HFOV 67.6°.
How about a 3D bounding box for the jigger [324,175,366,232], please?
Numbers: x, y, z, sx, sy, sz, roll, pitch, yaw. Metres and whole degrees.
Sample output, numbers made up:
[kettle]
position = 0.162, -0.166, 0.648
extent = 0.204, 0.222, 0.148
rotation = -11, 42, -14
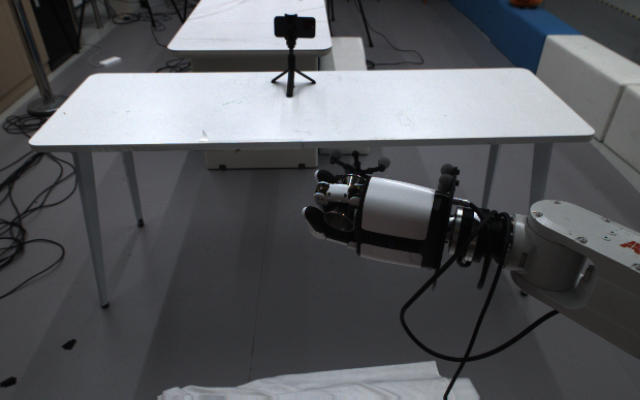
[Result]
[jigger]
position = 0.039, 0.002, 0.649
extent = 0.043, 0.043, 0.071
rotation = 13, 58, 16
